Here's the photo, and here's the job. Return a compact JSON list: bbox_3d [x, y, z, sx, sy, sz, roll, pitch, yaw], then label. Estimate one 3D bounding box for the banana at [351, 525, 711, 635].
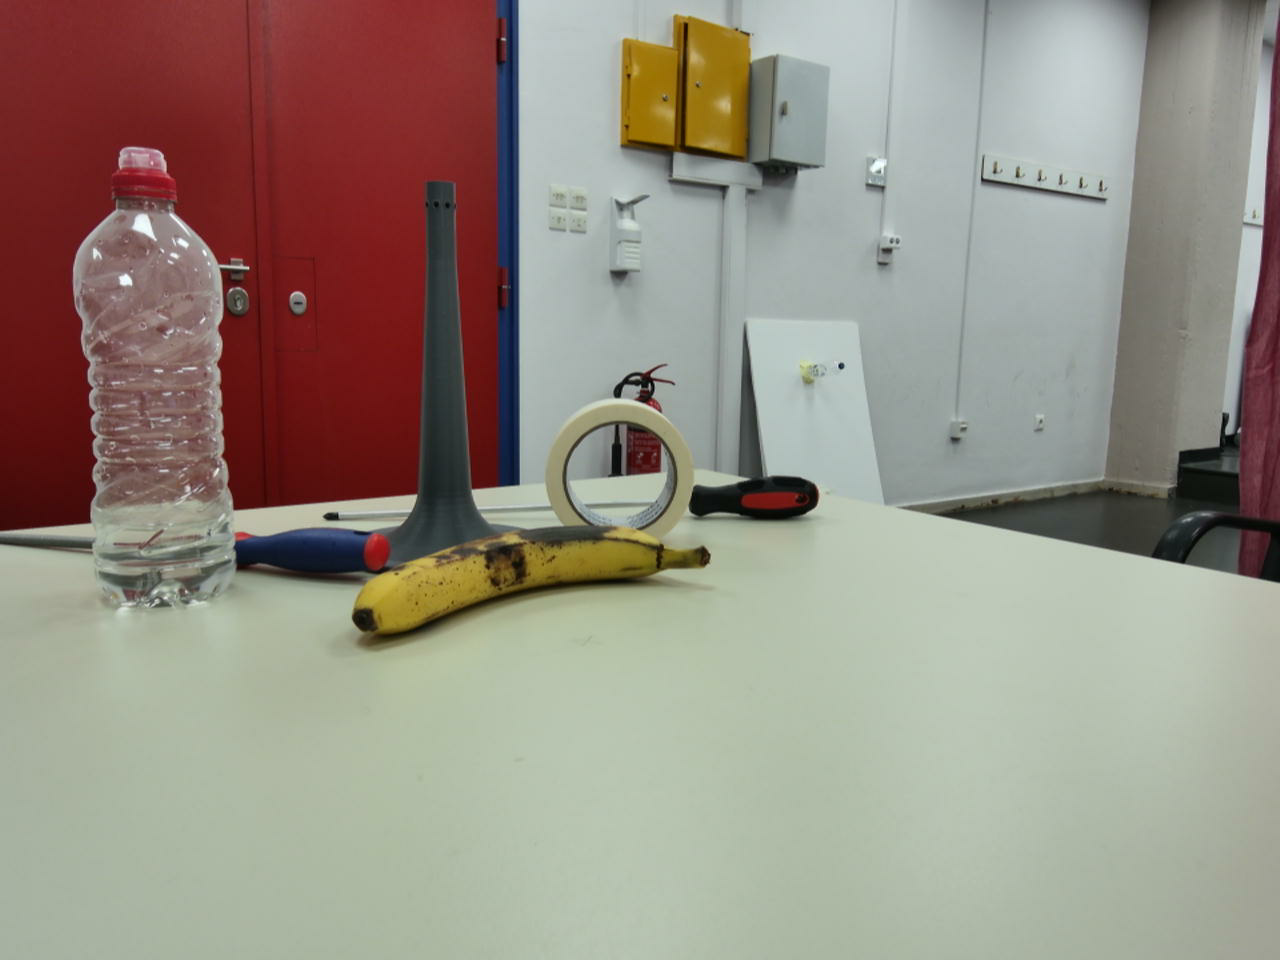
[{"bbox_3d":[-0.068,0.053,0.577,0.222,0.037,0.084,-5,9,-36],"label":"banana"}]
